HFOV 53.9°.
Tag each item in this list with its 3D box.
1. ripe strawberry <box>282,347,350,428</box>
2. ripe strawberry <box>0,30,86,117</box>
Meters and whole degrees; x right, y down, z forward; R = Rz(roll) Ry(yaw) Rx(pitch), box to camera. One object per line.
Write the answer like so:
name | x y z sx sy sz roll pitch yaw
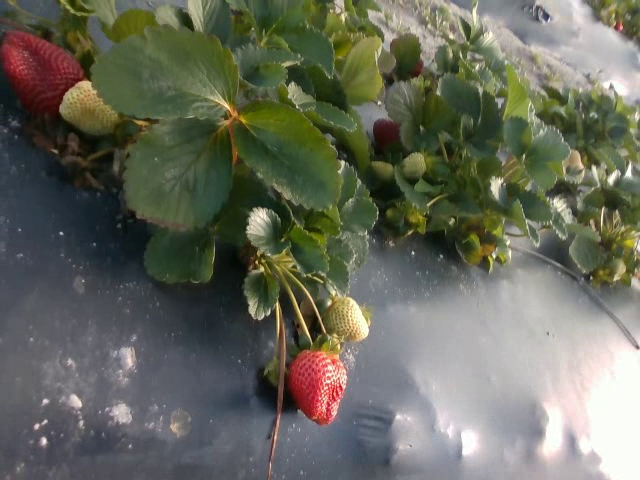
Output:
ripe strawberry | 0.004 0.099 0.422 0.047 0.050 0.034 14 -23 -33
ripe strawberry | -0.199 -0.120 0.440 0.057 0.058 0.071 10 -38 36
